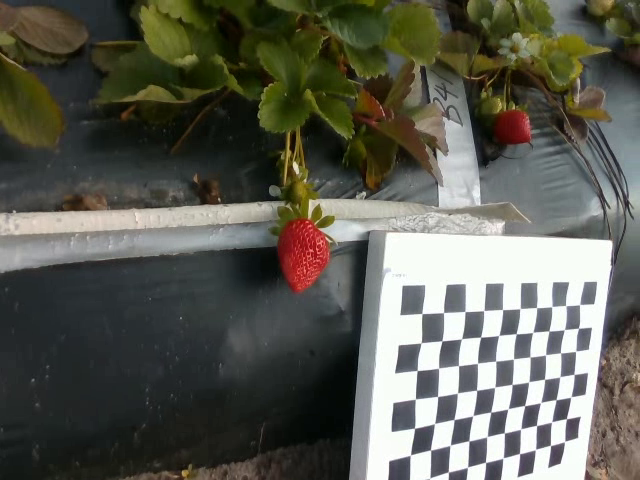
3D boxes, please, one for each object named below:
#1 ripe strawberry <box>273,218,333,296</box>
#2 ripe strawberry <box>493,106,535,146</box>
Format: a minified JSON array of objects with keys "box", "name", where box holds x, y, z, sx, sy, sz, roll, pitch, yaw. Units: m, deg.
[{"box":[-0.010,0.012,0.379,0.030,0.052,0.048,-15,-50,39],"name":"ripe strawberry"},{"box":[0.173,-0.097,0.539,0.037,0.030,0.047,18,33,-34],"name":"ripe strawberry"}]
